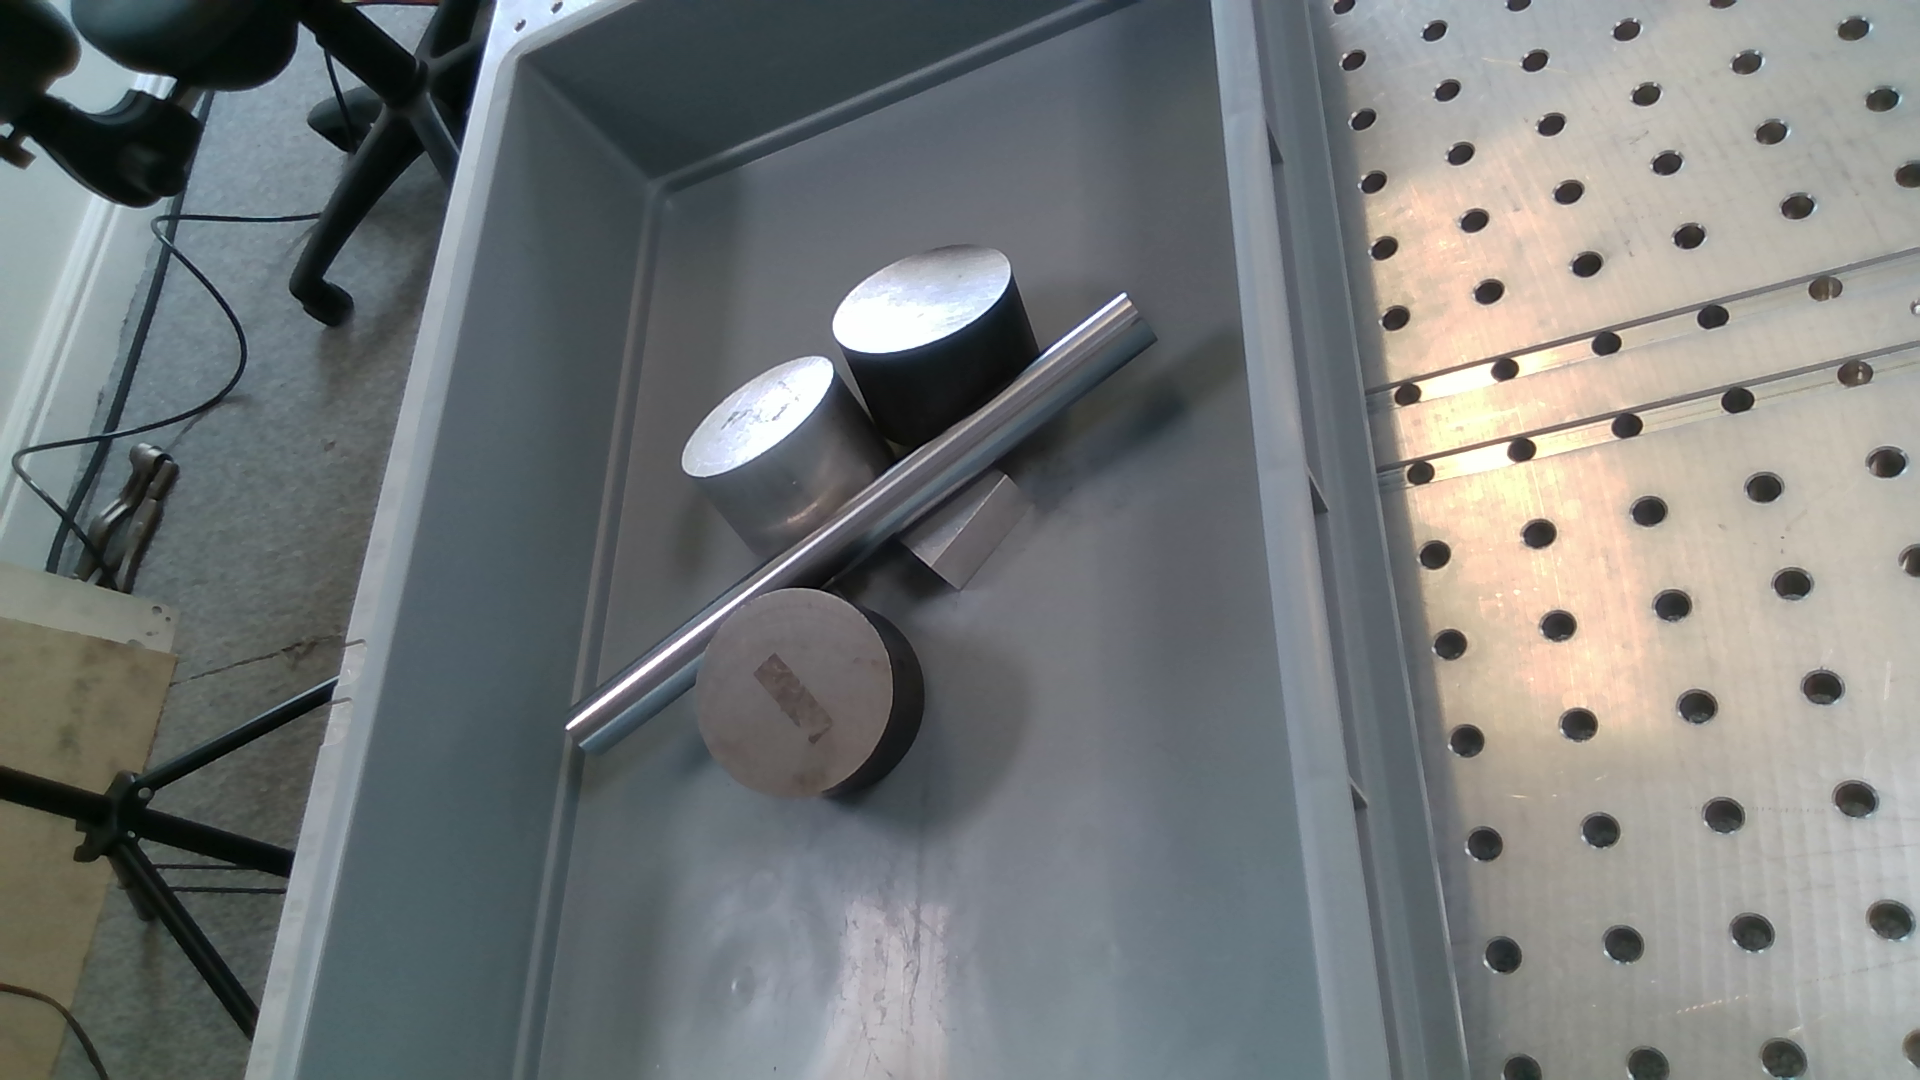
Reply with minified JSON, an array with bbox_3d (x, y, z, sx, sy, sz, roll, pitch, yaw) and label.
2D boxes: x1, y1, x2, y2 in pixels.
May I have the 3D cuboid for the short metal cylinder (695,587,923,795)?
[{"bbox_3d":[-0.060,0.062,0.555,0.080,0.050,0.080,-2,80,12],"label":"short metal cylinder"}]

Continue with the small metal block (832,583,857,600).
[{"bbox_3d":[-0.073,0.035,0.611,0.050,0.025,0.050,-48,51,1],"label":"small metal block"}]

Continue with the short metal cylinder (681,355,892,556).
[{"bbox_3d":[-0.077,-0.038,0.619,0.080,0.050,0.080,-25,32,17],"label":"short metal cylinder"}]

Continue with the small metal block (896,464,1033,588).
[{"bbox_3d":[-0.006,-0.015,0.596,0.050,0.025,0.050,-50,51,-1],"label":"small metal block"}]

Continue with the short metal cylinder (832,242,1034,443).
[{"bbox_3d":[-0.009,-0.087,0.602,0.080,0.050,0.080,-14,38,12],"label":"short metal cylinder"}]

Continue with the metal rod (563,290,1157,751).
[{"bbox_3d":[-0.047,-0.004,0.582,0.300,0.025,0.025,-36,52,10],"label":"metal rod"}]
